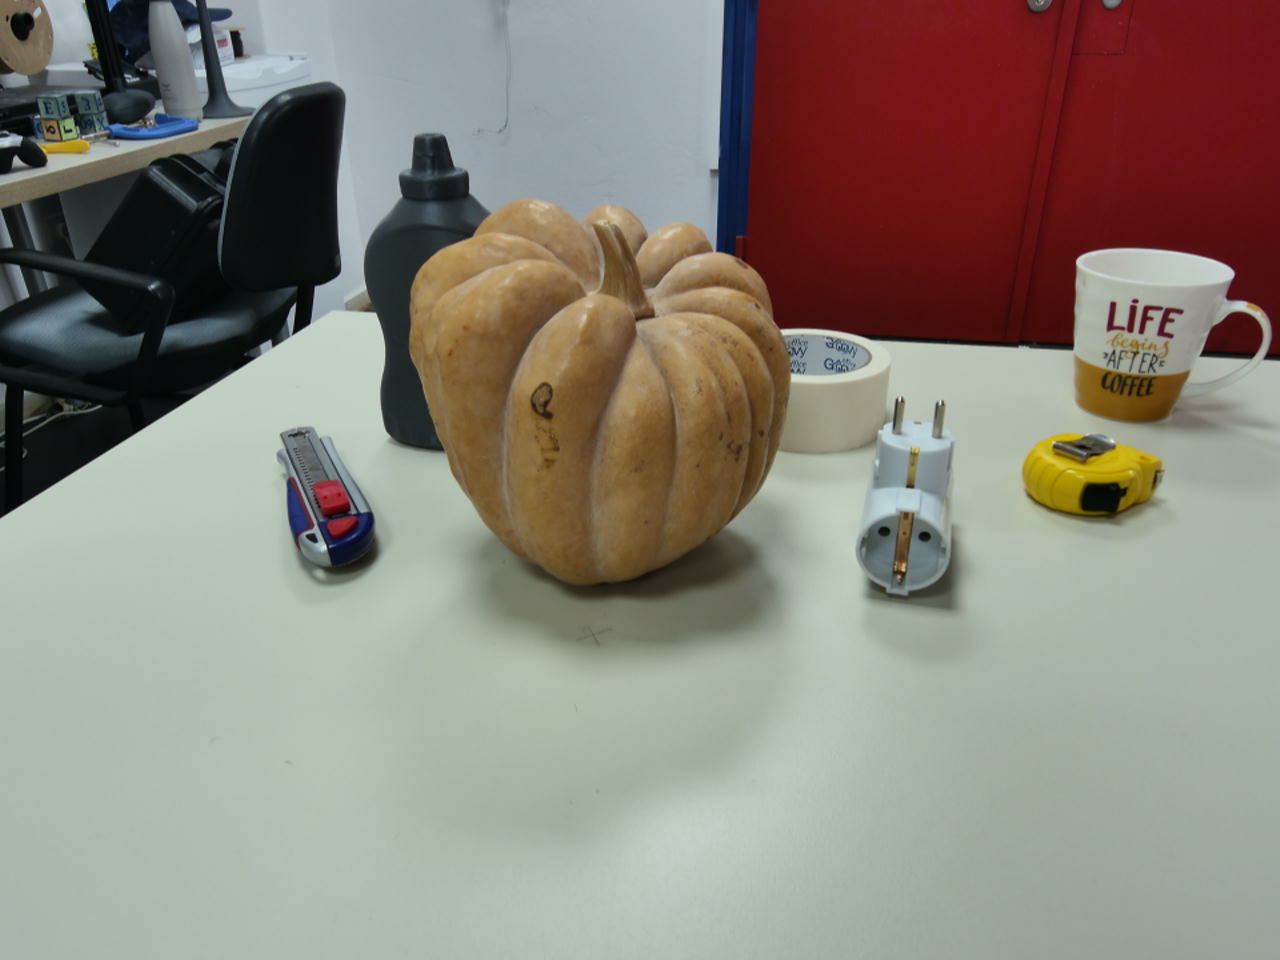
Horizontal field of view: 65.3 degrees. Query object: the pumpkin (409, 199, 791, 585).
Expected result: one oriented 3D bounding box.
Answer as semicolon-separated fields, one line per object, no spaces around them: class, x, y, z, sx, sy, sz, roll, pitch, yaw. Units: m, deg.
pumpkin;-0.020;-0.046;0.505;0.199;0.177;0.198;0;26;0
